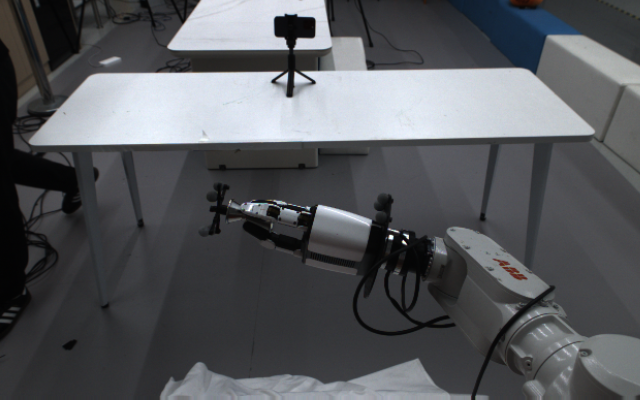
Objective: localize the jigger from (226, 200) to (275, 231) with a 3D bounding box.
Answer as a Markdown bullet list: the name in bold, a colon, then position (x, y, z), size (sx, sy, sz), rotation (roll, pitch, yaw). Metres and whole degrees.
- **jigger**: position (-0.097, 0.021, 0.733), size (0.071, 0.043, 0.043), rotation (10, 35, 1)
